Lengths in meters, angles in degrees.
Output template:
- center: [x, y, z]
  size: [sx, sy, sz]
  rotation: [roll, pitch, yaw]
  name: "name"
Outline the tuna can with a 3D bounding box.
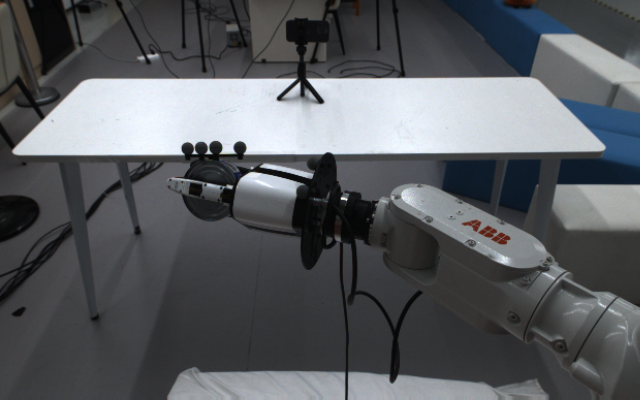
- center: [-0.147, -0.014, 0.681]
  size: [0.085, 0.085, 0.034]
  rotation: [11, 7, 13]
  name: "tuna can"
